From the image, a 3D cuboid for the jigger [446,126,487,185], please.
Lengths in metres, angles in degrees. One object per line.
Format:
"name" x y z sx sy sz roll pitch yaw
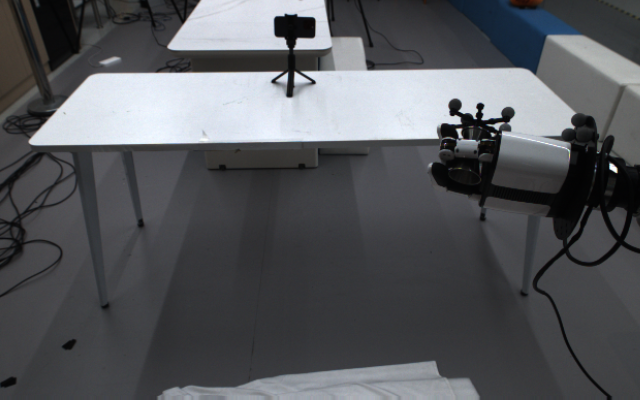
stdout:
"jigger" 0.205 -0.061 0.651 0.043 0.043 0.071 13 69 15
